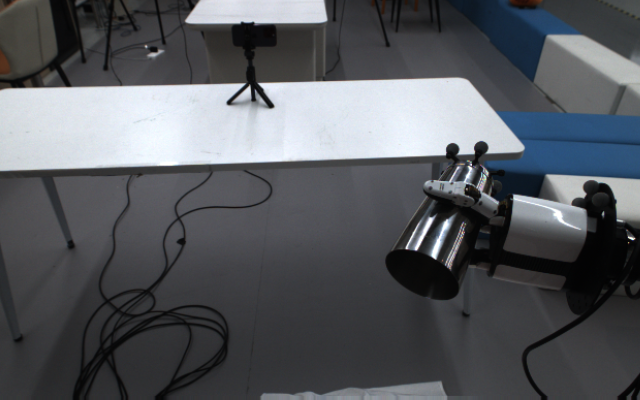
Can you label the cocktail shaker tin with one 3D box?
[{"bbox_3d":[0.162,0.024,0.605,0.093,0.093,0.170,19,55,22],"label":"cocktail shaker tin"}]
